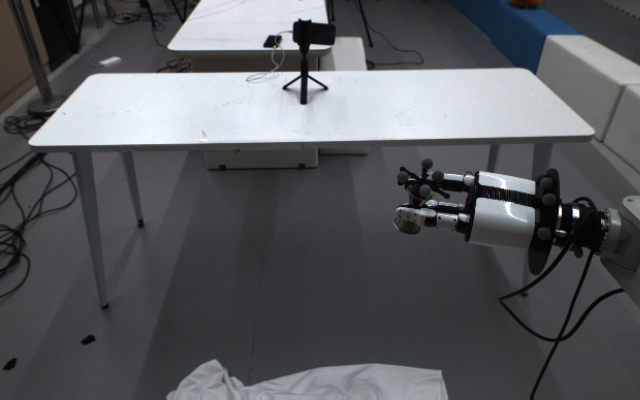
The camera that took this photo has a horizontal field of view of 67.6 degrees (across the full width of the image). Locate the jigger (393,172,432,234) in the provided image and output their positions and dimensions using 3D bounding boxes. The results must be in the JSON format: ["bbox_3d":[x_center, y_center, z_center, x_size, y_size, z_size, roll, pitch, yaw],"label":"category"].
[{"bbox_3d":[0.144,0.013,0.754,0.043,0.071,0.043,10,35,-7],"label":"jigger"}]
